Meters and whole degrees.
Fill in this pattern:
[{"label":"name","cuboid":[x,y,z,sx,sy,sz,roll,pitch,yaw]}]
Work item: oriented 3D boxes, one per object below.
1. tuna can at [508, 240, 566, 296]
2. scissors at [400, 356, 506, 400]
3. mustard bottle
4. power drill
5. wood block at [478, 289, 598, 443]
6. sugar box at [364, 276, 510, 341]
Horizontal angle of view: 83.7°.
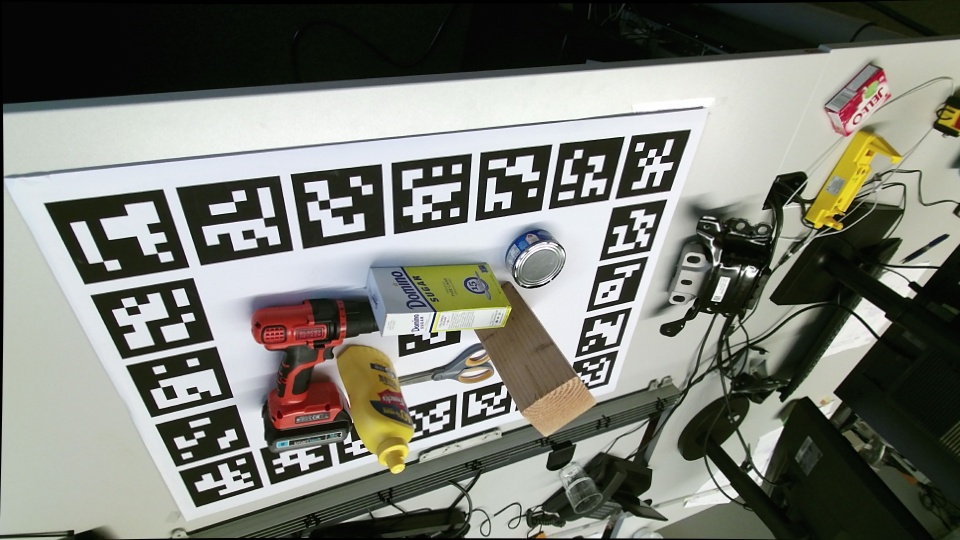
[{"label":"tuna can","cuboid":[0.086,-0.001,0.795,0.086,0.033,0.086,-13,127,-18]},{"label":"scissors","cuboid":[-0.042,0.186,0.880,0.203,0.016,0.088,-9,130,-22]},{"label":"mustard bottle","cuboid":[-0.137,0.202,0.738,0.058,0.191,0.096,-43,130,5]},{"label":"power drill","cuboid":[-0.201,0.137,0.736,0.185,0.057,0.187,1,115,-28]},{"label":"wood block","cuboid":[0.070,0.134,0.788,0.091,0.205,0.090,-34,131,-2]},{"label":"sugar box","cuboid":[-0.058,0.049,0.724,0.177,0.092,0.045,0,126,-26]}]
